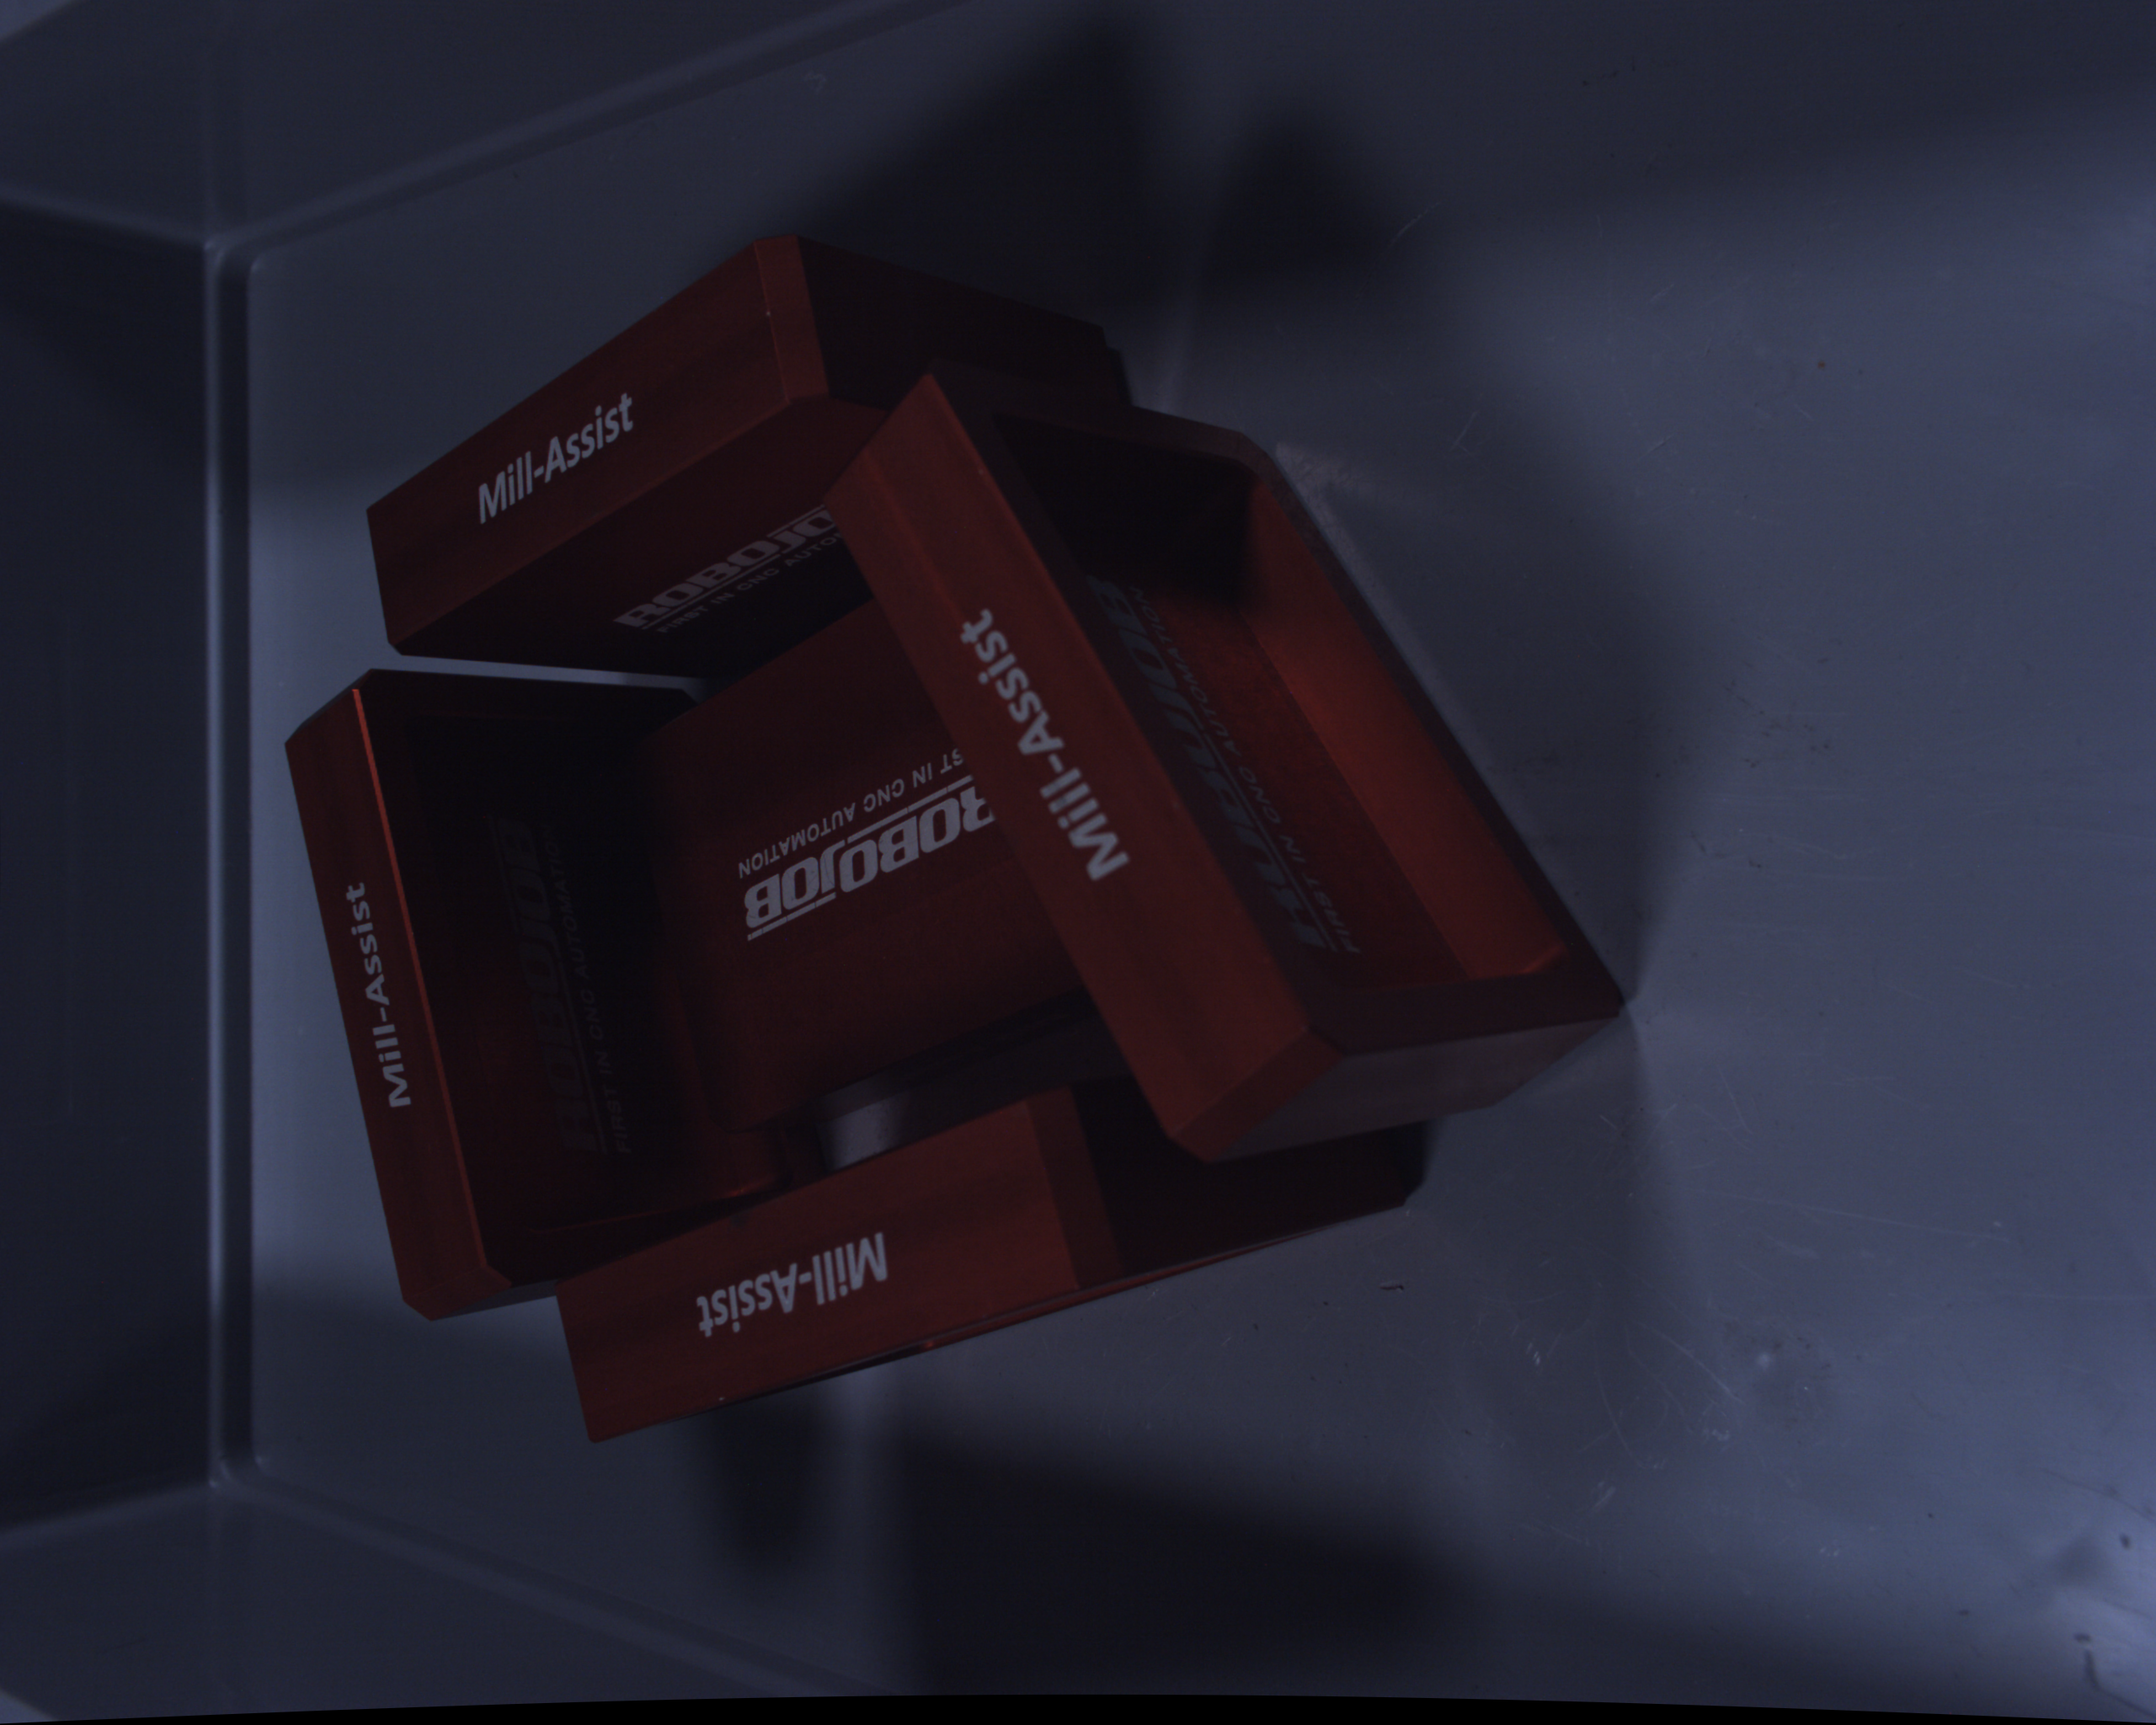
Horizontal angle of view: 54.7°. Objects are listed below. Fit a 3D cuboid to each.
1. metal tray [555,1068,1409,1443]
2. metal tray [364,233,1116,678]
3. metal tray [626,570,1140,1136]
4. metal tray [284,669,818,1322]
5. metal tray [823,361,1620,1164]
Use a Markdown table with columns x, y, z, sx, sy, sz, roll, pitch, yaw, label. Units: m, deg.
| x | y | z | sx | sy | sz | roll | pitch | yaw | label |
| --- | --- | --- | --- | --- | --- | --- | --- | --- | --- |
| -0.019 | 0.069 | 0.375 | 0.130 | 0.091 | 0.030 | -26 | 74 | 37 | metal tray |
| -0.067 | -0.074 | 0.415 | 0.130 | 0.091 | 0.030 | -20 | 78 | 38 | metal tray |
| -0.033 | -0.005 | 0.425 | 0.130 | 0.030 | 0.090 | -25 | 75 | 37 | metal tray |
| -0.111 | 0.026 | 0.451 | 0.030 | 0.091 | 0.129 | -27 | 74 | 37 | metal tray |
| 0.024 | -0.019 | 0.341 | 0.030 | 0.091 | 0.130 | -44 | 64 | 32 | metal tray |
